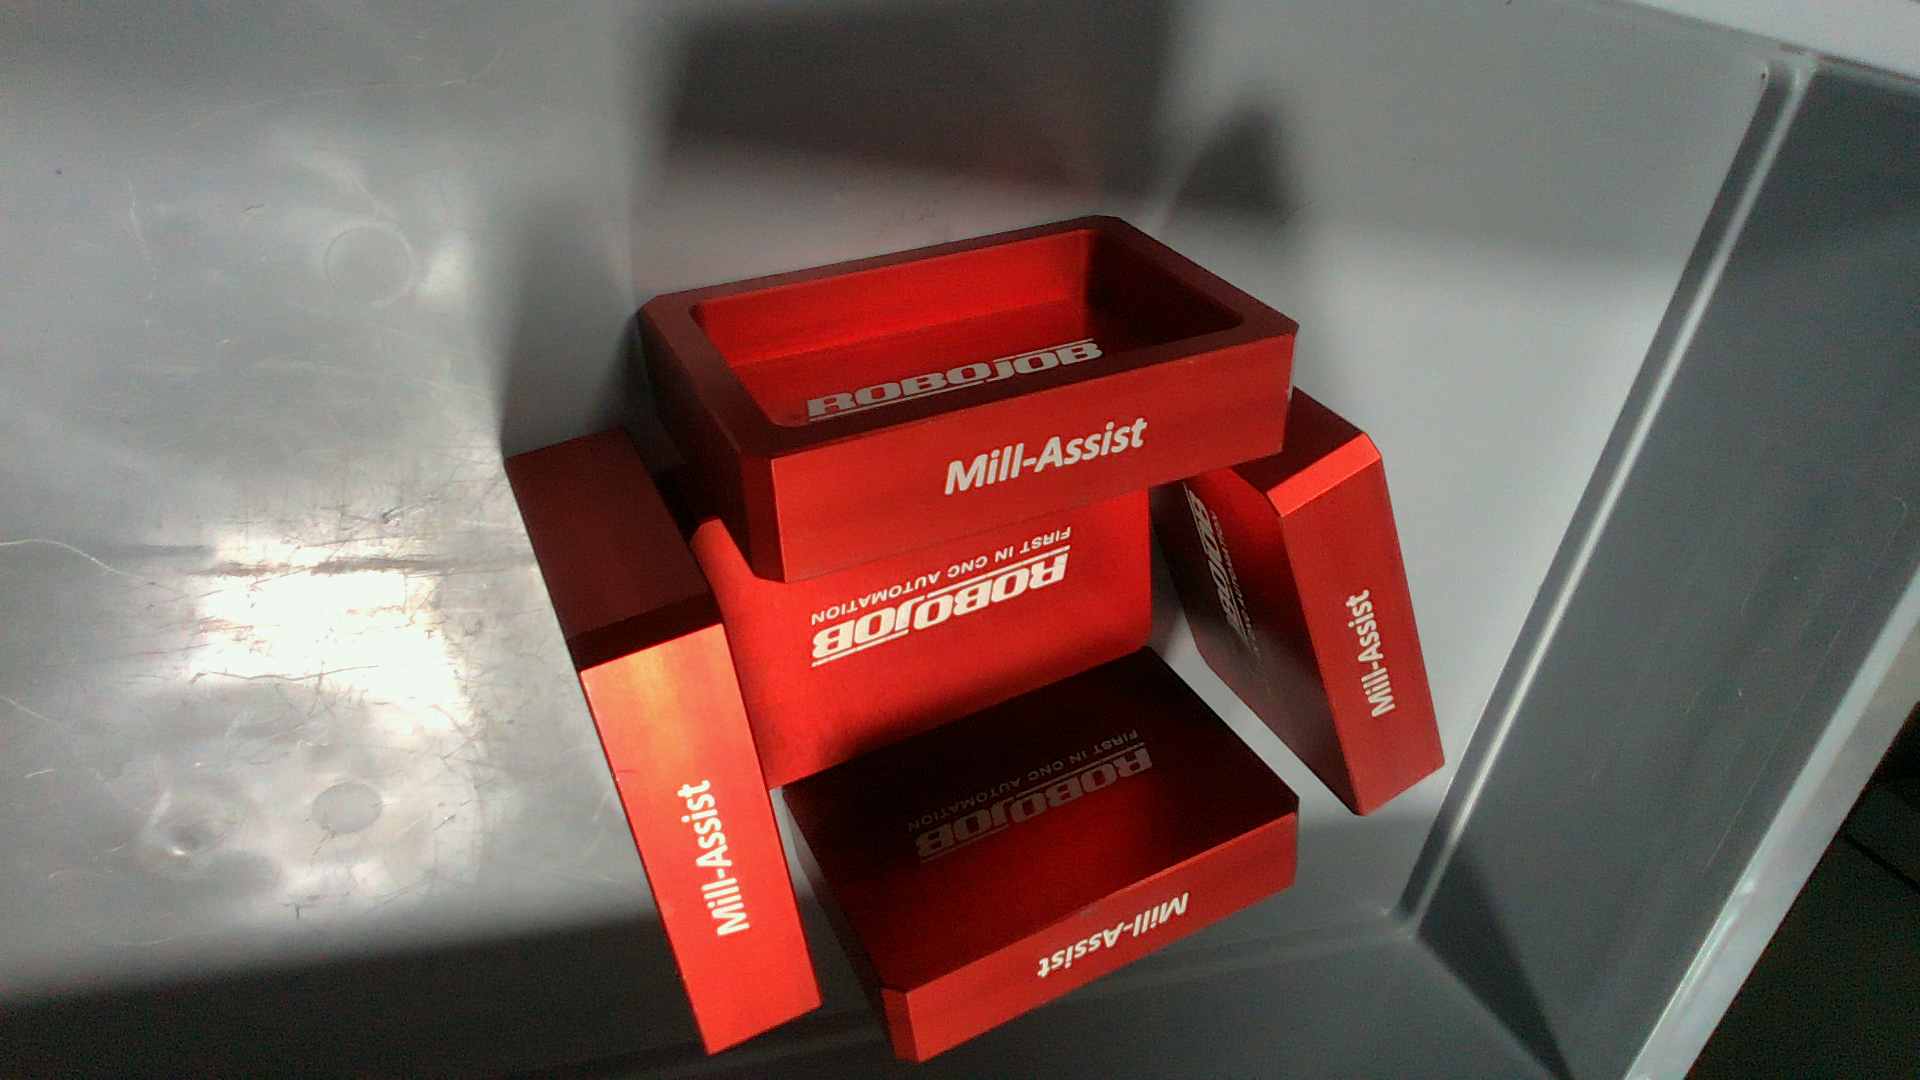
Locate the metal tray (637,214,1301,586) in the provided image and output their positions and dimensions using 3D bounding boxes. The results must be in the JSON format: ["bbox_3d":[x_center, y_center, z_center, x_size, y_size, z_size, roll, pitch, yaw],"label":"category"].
[{"bbox_3d":[0.000,-0.039,0.321,0.130,0.090,0.030,-15,125,-20],"label":"metal tray"}]

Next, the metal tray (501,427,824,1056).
[{"bbox_3d":[-0.072,0.049,0.336,0.030,0.090,0.130,-19,126,-17],"label":"metal tray"}]

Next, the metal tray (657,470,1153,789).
[{"bbox_3d":[-0.010,0.008,0.382,0.130,0.030,0.090,-19,126,-18],"label":"metal tray"}]

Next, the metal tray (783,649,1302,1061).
[{"bbox_3d":[0.023,0.087,0.411,0.130,0.090,0.030,-19,126,-17],"label":"metal tray"}]

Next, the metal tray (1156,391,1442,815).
[{"bbox_3d":[0.091,0.009,0.401,0.030,0.090,0.130,-31,129,-7],"label":"metal tray"}]
